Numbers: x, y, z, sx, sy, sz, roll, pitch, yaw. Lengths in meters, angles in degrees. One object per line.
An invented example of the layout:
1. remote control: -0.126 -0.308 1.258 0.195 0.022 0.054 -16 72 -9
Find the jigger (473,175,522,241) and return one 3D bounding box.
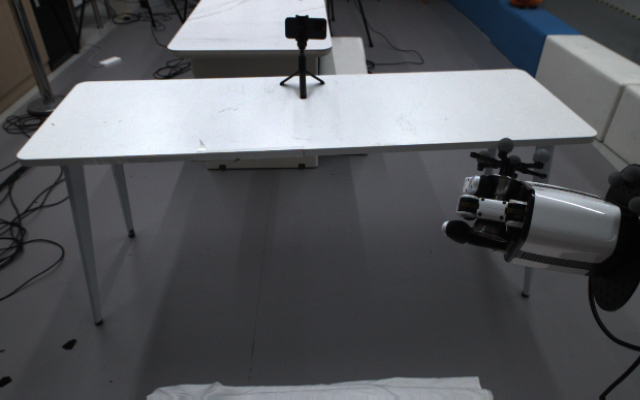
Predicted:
1. jigger: 0.201 0.009 0.549 0.043 0.071 0.043 19 -6 2
